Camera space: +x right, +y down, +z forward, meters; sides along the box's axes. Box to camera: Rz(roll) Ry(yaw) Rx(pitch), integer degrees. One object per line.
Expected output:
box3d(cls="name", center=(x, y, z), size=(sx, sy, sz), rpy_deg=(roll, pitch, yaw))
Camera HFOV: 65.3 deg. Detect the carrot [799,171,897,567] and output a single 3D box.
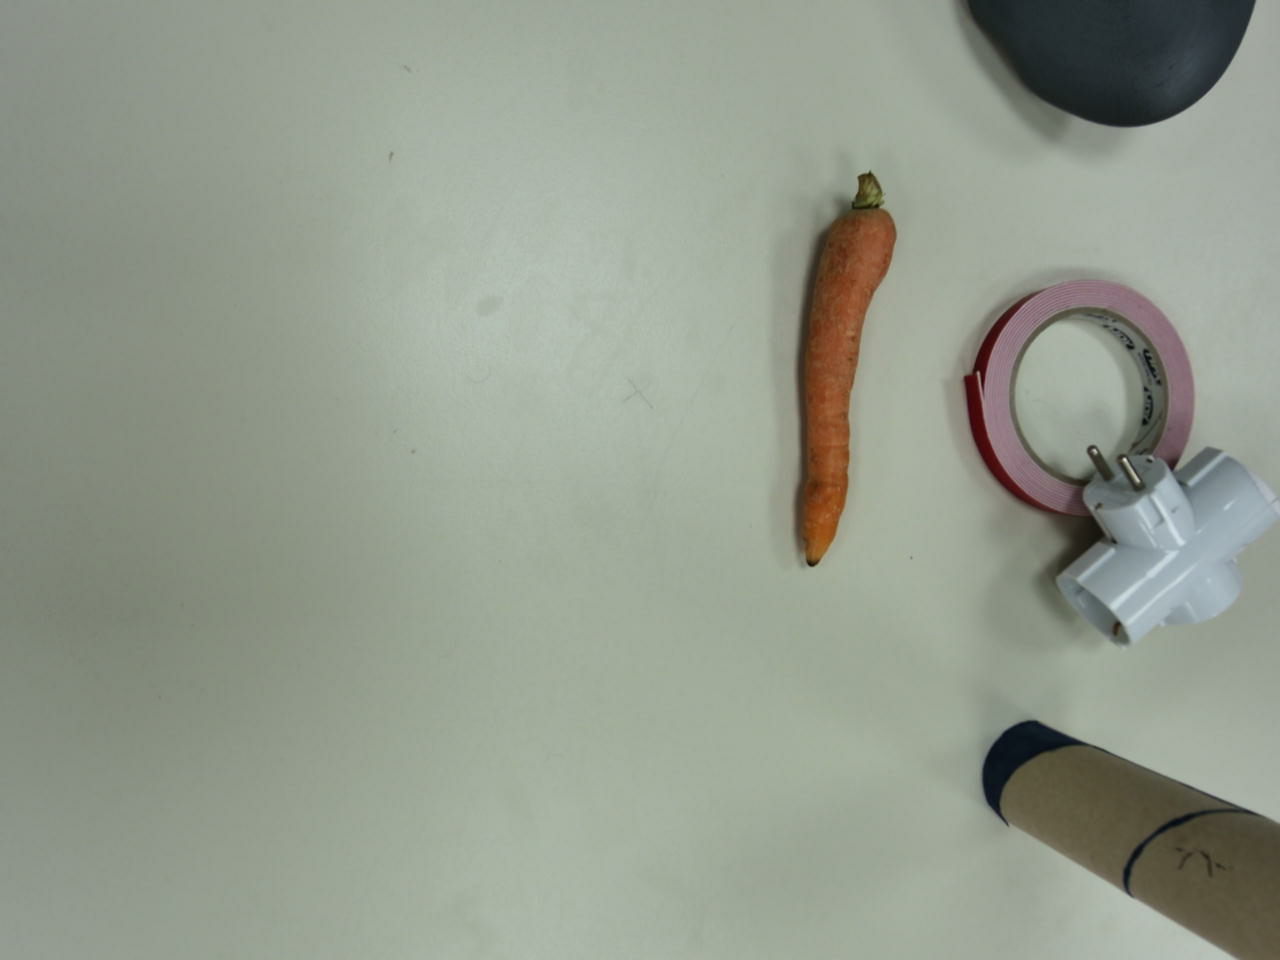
box3d(cls="carrot", center=(0.088, -0.048, 0.441), size=(0.030, 0.032, 0.173), rpy_deg=(10, 89, -11))
